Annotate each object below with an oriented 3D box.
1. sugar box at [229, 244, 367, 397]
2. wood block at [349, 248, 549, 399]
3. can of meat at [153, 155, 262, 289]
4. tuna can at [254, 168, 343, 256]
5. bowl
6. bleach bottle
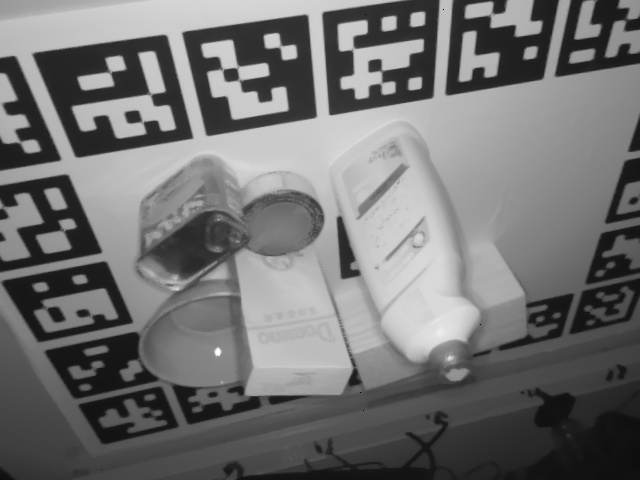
[{"bbox_3d":[-0.026,0.068,0.665,0.094,0.176,0.045,4,127,-23],"label":"sugar box"},{"bbox_3d":[0.149,0.097,0.808,0.206,0.090,0.090,-18,128,0],"label":"wood block"},{"bbox_3d":[-0.105,-0.019,0.640,0.101,0.084,0.058,-33,133,15],"label":"can of meat"},{"bbox_3d":[-0.023,-0.028,0.681,0.086,0.034,0.085,-8,128,-10],"label":"tuna can"},{"bbox_3d":[-0.110,0.104,0.756,0.163,0.055,0.160,-11,132,-12],"label":"bowl"},{"bbox_3d":[0.093,0.003,0.600,0.102,0.251,0.068,-30,132,11],"label":"bleach bottle"}]
